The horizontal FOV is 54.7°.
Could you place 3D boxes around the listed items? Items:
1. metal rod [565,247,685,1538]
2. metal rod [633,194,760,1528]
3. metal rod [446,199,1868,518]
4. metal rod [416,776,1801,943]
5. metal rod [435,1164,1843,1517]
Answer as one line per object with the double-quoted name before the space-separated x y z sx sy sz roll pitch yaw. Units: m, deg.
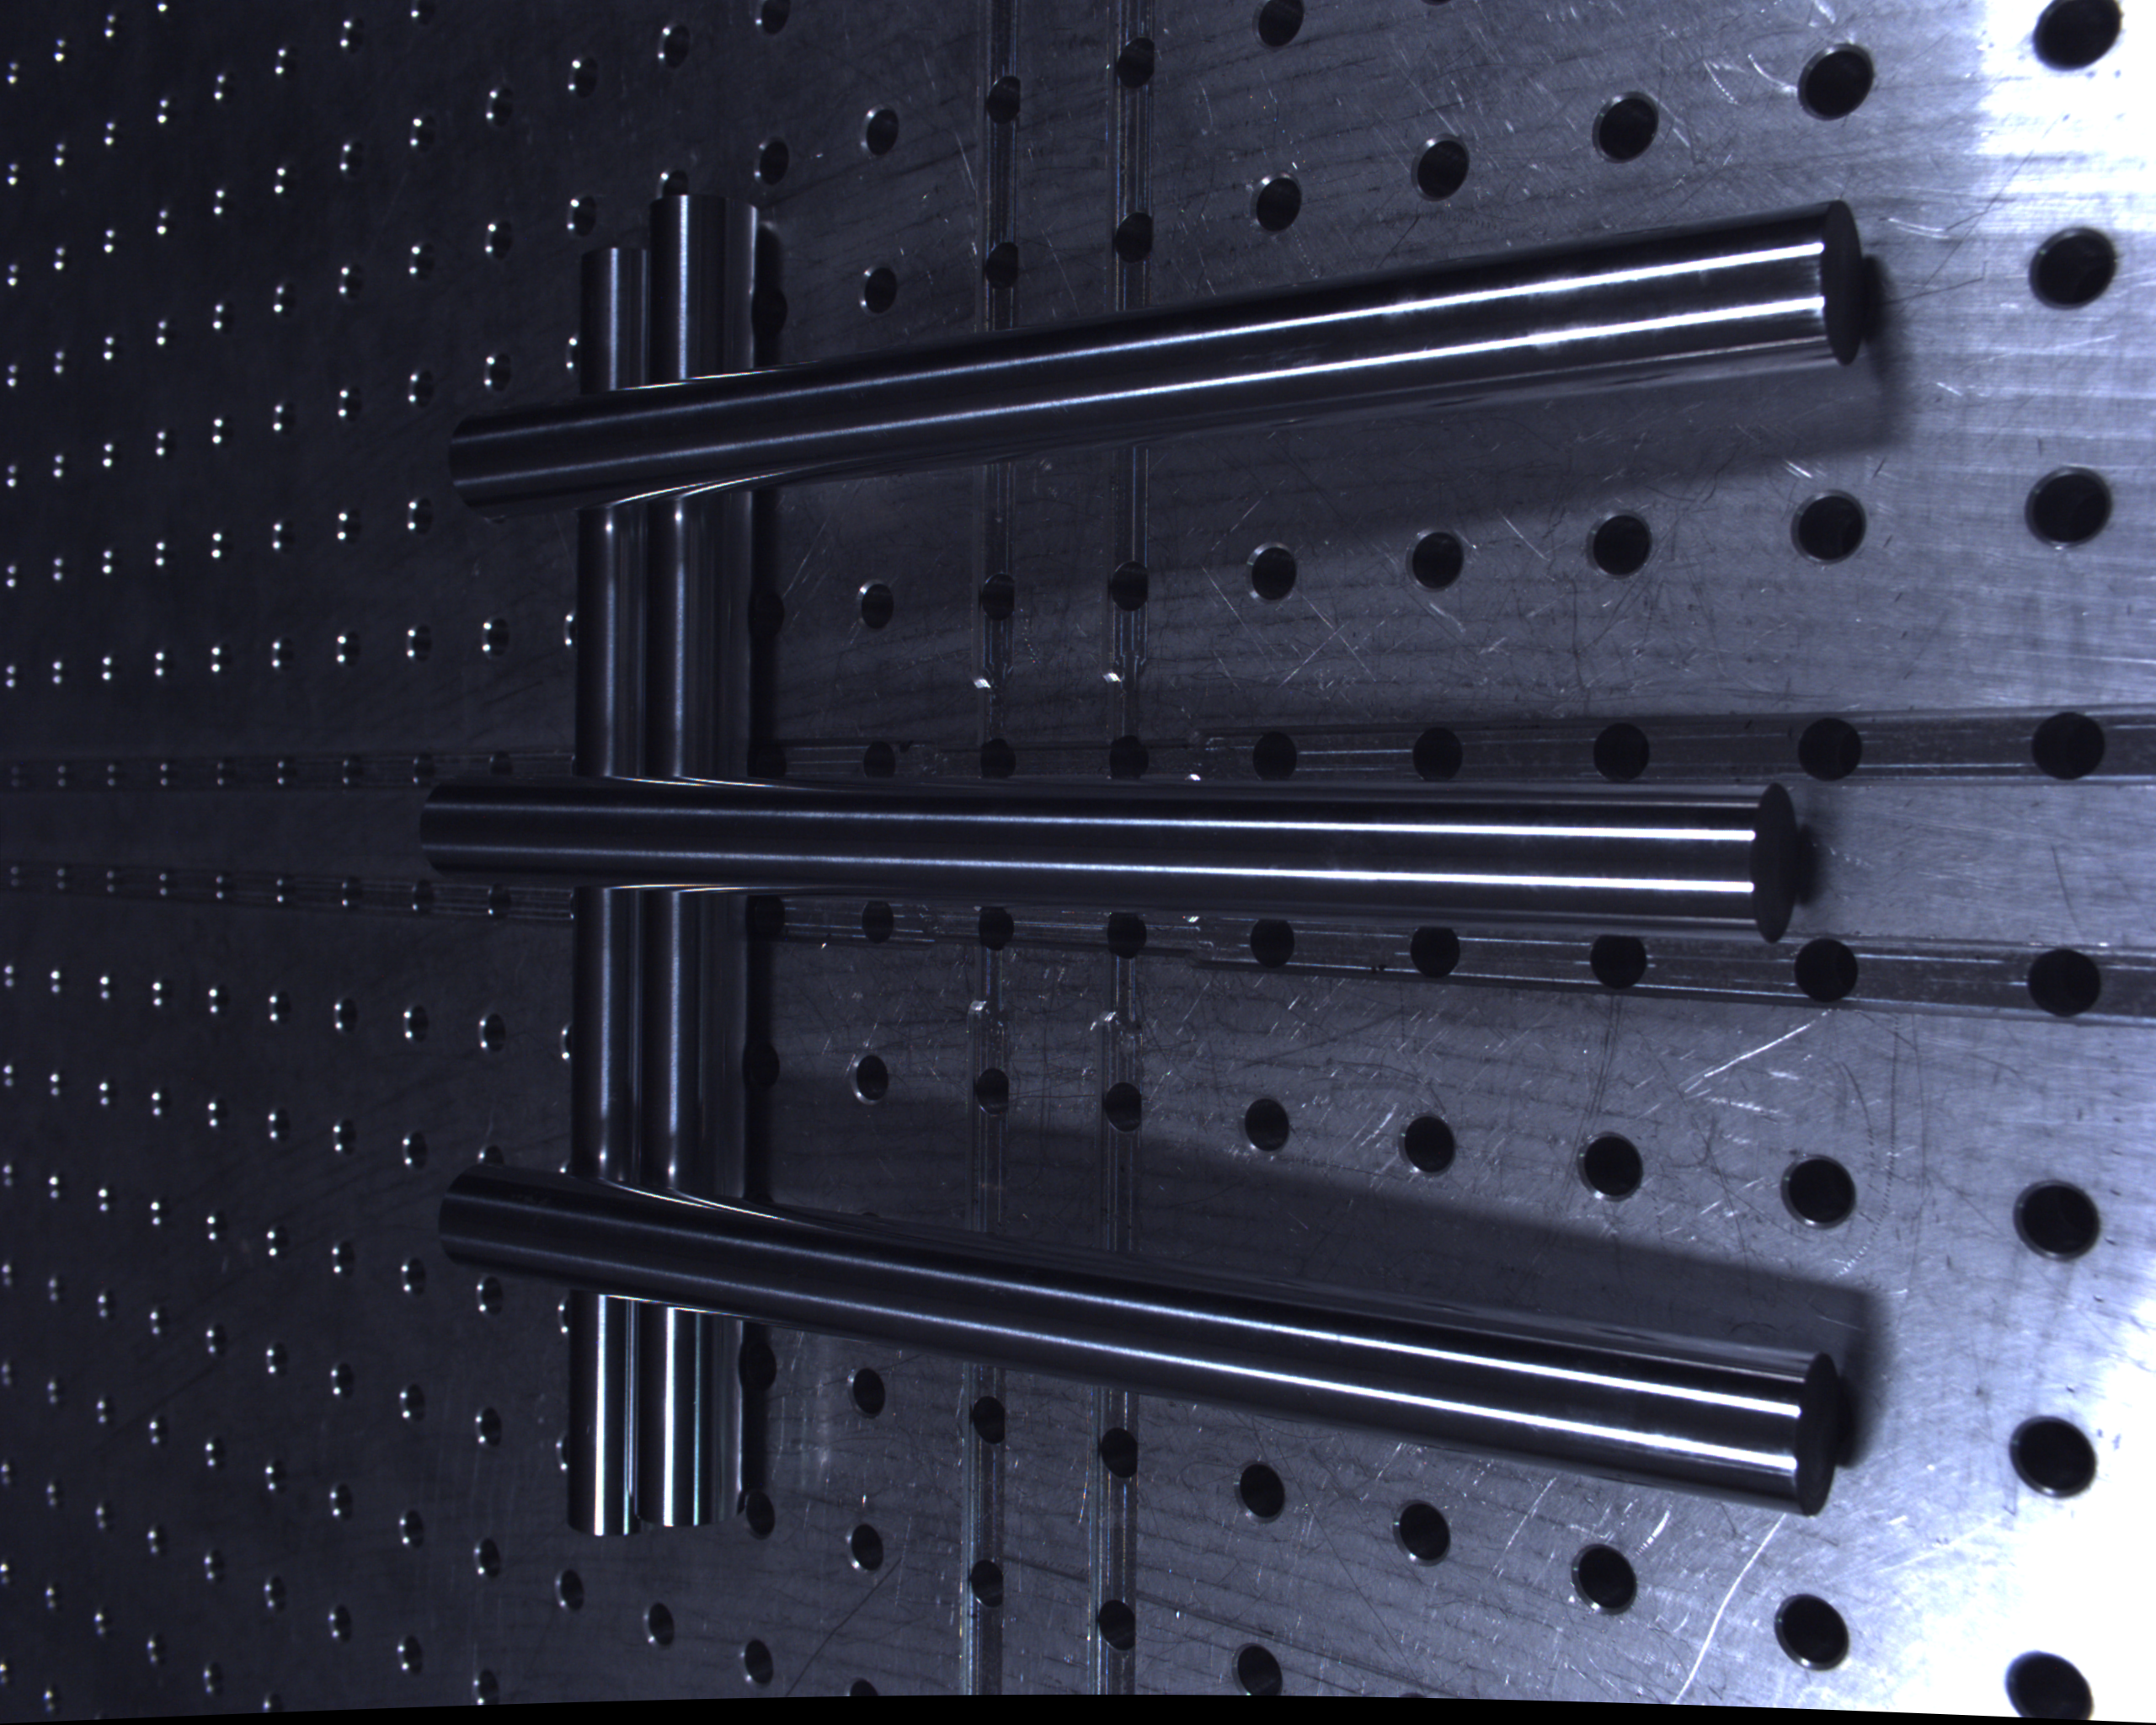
"metal rod" -0.107 0.007 0.494 0.025 0.025 0.298 1 91 39
"metal rod" -0.088 0.000 0.478 0.025 0.025 0.298 1 91 39
"metal rod" -0.010 -0.089 0.396 0.300 0.025 0.025 1 91 33
"metal rod" -0.018 -0.004 0.402 0.300 0.025 0.025 2 91 33
"metal rod" -0.013 0.084 0.399 0.300 0.025 0.025 1 91 33
